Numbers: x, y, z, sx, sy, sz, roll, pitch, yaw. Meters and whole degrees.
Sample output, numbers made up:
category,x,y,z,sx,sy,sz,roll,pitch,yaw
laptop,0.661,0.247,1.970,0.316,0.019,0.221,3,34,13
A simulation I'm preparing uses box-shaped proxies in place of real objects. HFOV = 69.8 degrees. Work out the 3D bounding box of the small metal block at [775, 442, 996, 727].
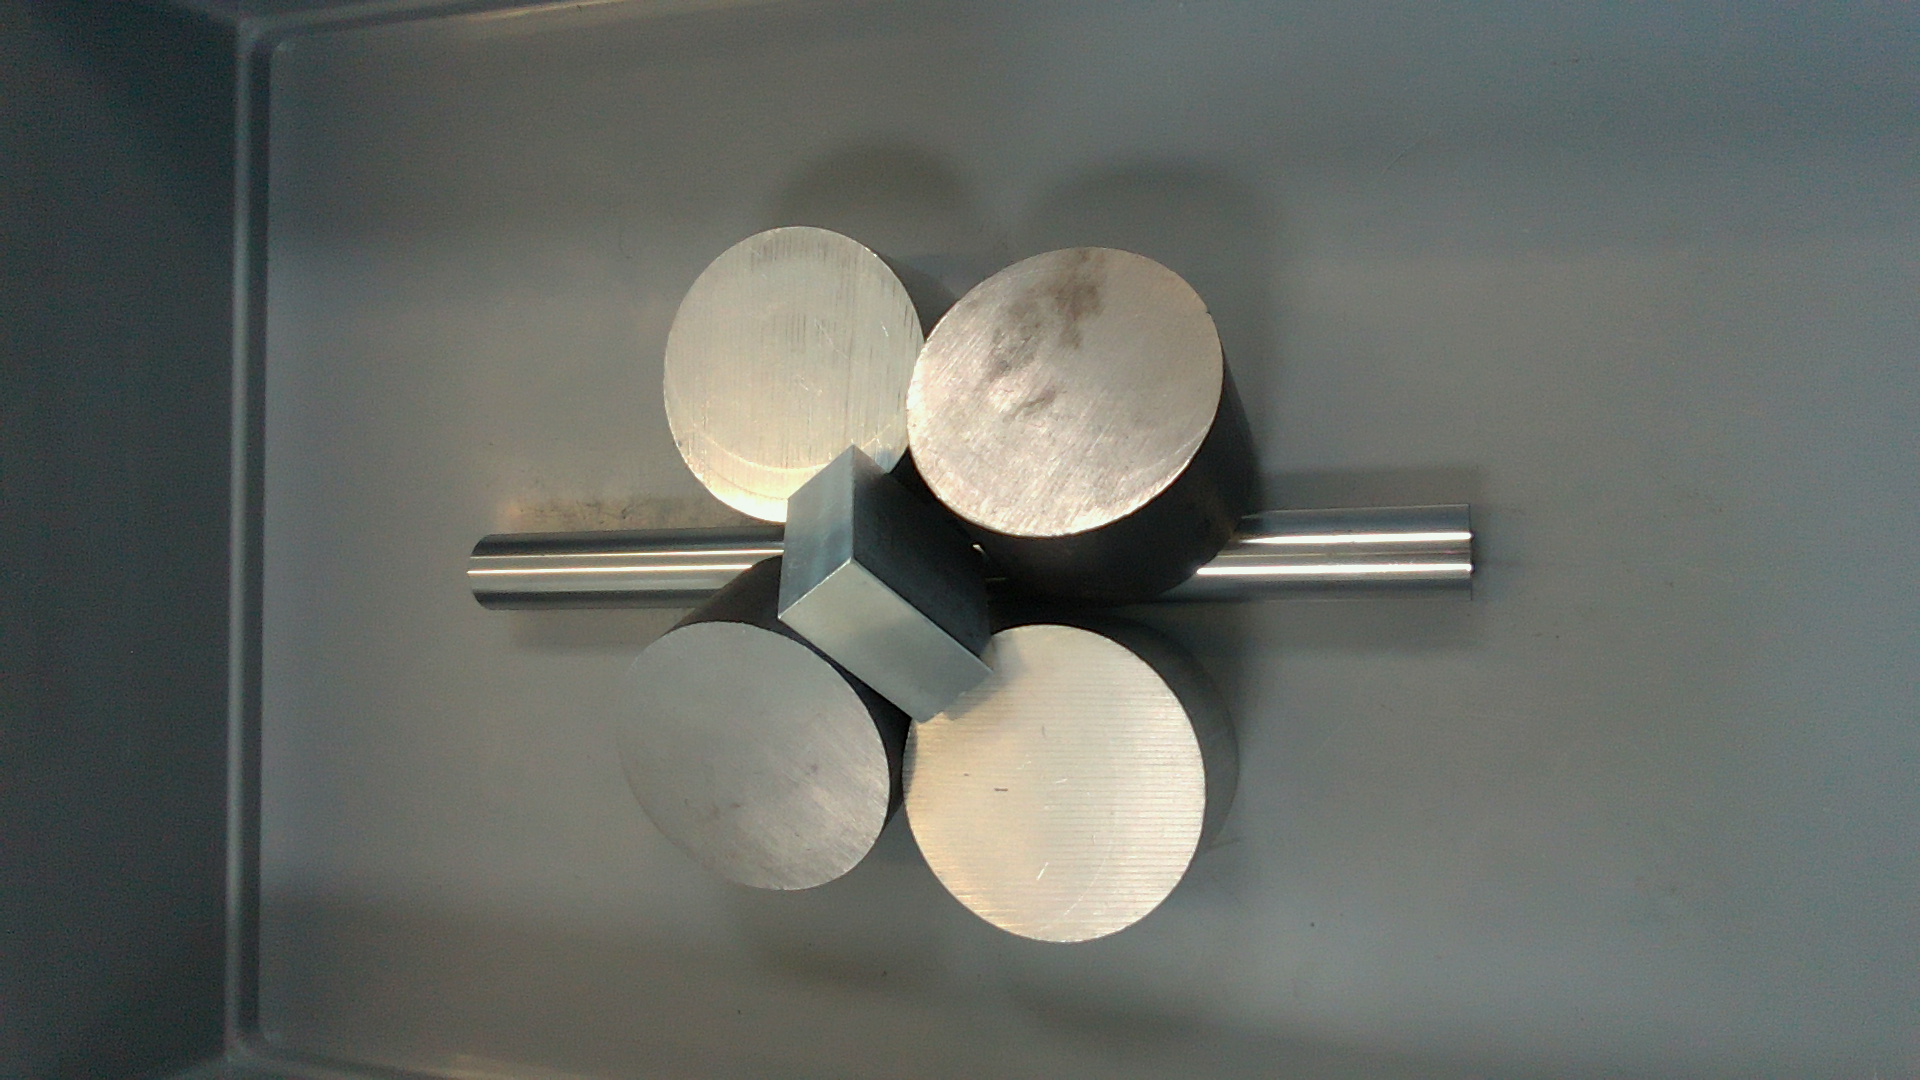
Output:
category,x,y,z,sx,sy,sz,roll,pitch,yaw
small metal block,-0.019,0.011,0.350,0.025,0.050,0.050,-38,120,22

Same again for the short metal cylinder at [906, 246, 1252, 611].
category,x,y,z,sx,sy,sz,roll,pitch,yaw
short metal cylinder,0.032,-0.028,0.355,0.080,0.050,0.080,-8,64,17

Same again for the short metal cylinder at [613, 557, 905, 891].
category,x,y,z,sx,sy,sz,roll,pitch,yaw
short metal cylinder,-0.049,0.050,0.386,0.080,0.050,0.080,7,112,17

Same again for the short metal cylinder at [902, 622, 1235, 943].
category,x,y,z,sx,sy,sz,roll,pitch,yaw
short metal cylinder,0.031,0.061,0.370,0.080,0.050,0.080,0,90,20

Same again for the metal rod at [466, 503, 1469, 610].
category,x,y,z,sx,sy,sz,roll,pitch,yaw
metal rod,-0.012,0.007,0.399,0.299,0.025,0.025,-2,90,20

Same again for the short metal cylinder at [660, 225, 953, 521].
category,x,y,z,sx,sy,sz,roll,pitch,yaw
short metal cylinder,-0.038,-0.045,0.395,0.080,0.050,0.080,0,90,20
